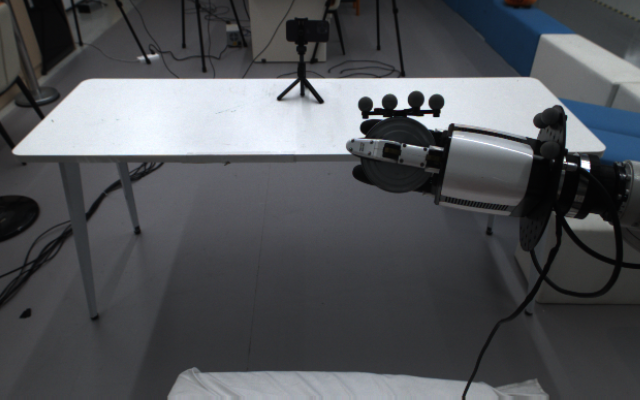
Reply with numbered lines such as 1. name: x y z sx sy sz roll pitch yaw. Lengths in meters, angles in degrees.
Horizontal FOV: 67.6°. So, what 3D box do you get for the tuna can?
1. tuna can: 0.092 -0.053 0.557 0.085 0.085 0.034 12 8 14
